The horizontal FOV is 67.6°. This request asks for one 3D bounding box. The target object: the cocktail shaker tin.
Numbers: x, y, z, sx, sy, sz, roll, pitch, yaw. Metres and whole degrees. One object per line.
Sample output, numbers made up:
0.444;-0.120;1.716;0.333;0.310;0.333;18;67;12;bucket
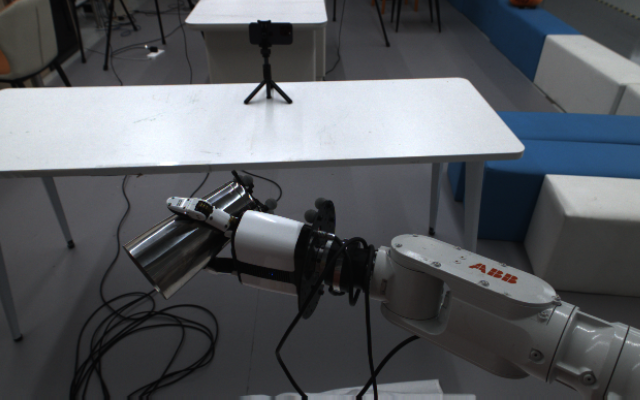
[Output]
-0.171;0.043;0.669;0.170;0.093;0.093;-38;49;-23;cocktail shaker tin
